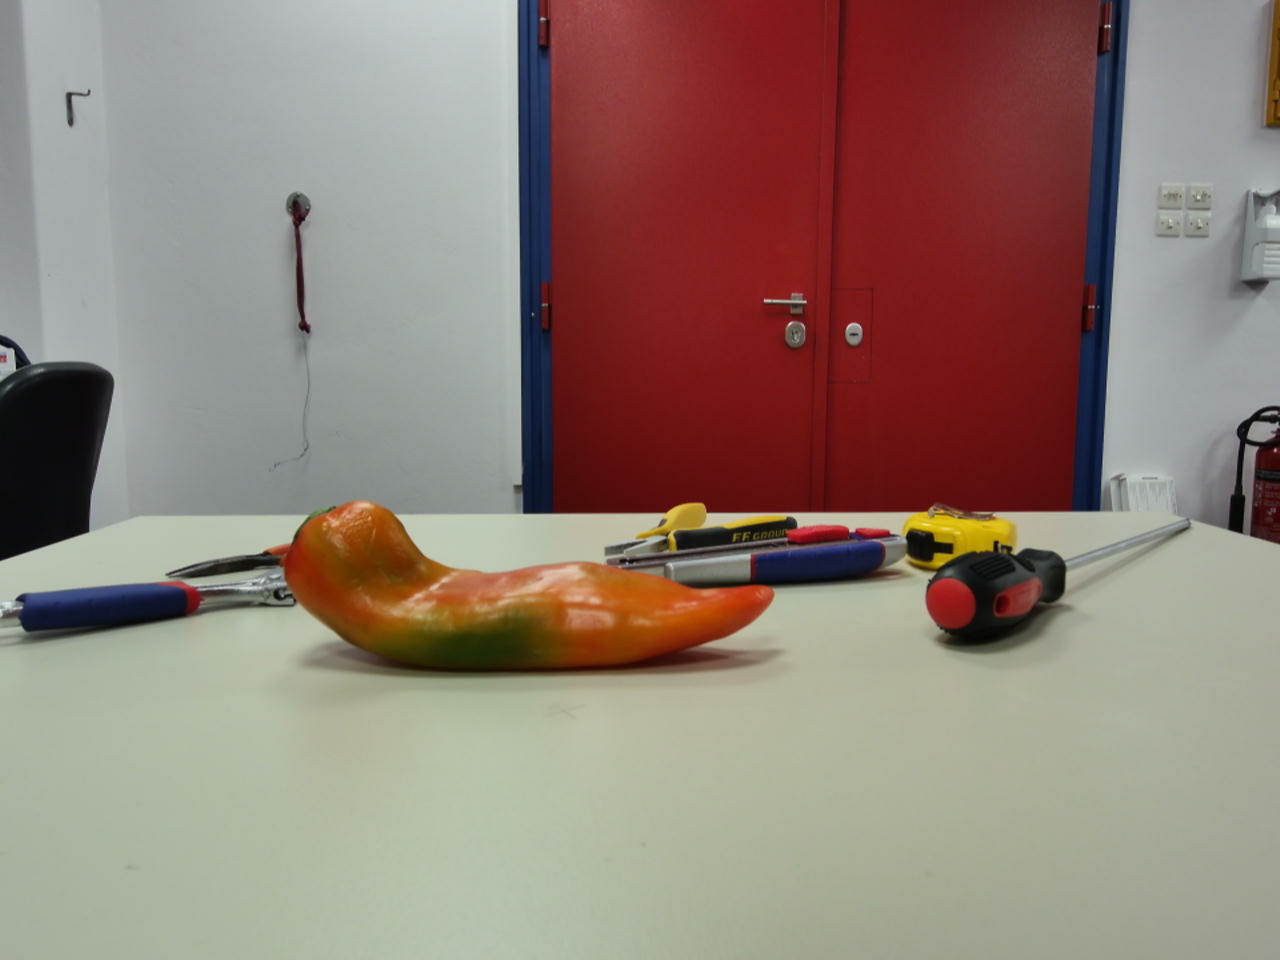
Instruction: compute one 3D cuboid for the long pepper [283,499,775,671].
[{"bbox_3d":[-0.045,0.041,0.407,0.199,0.065,0.066,0,4,5],"label":"long pepper"}]
